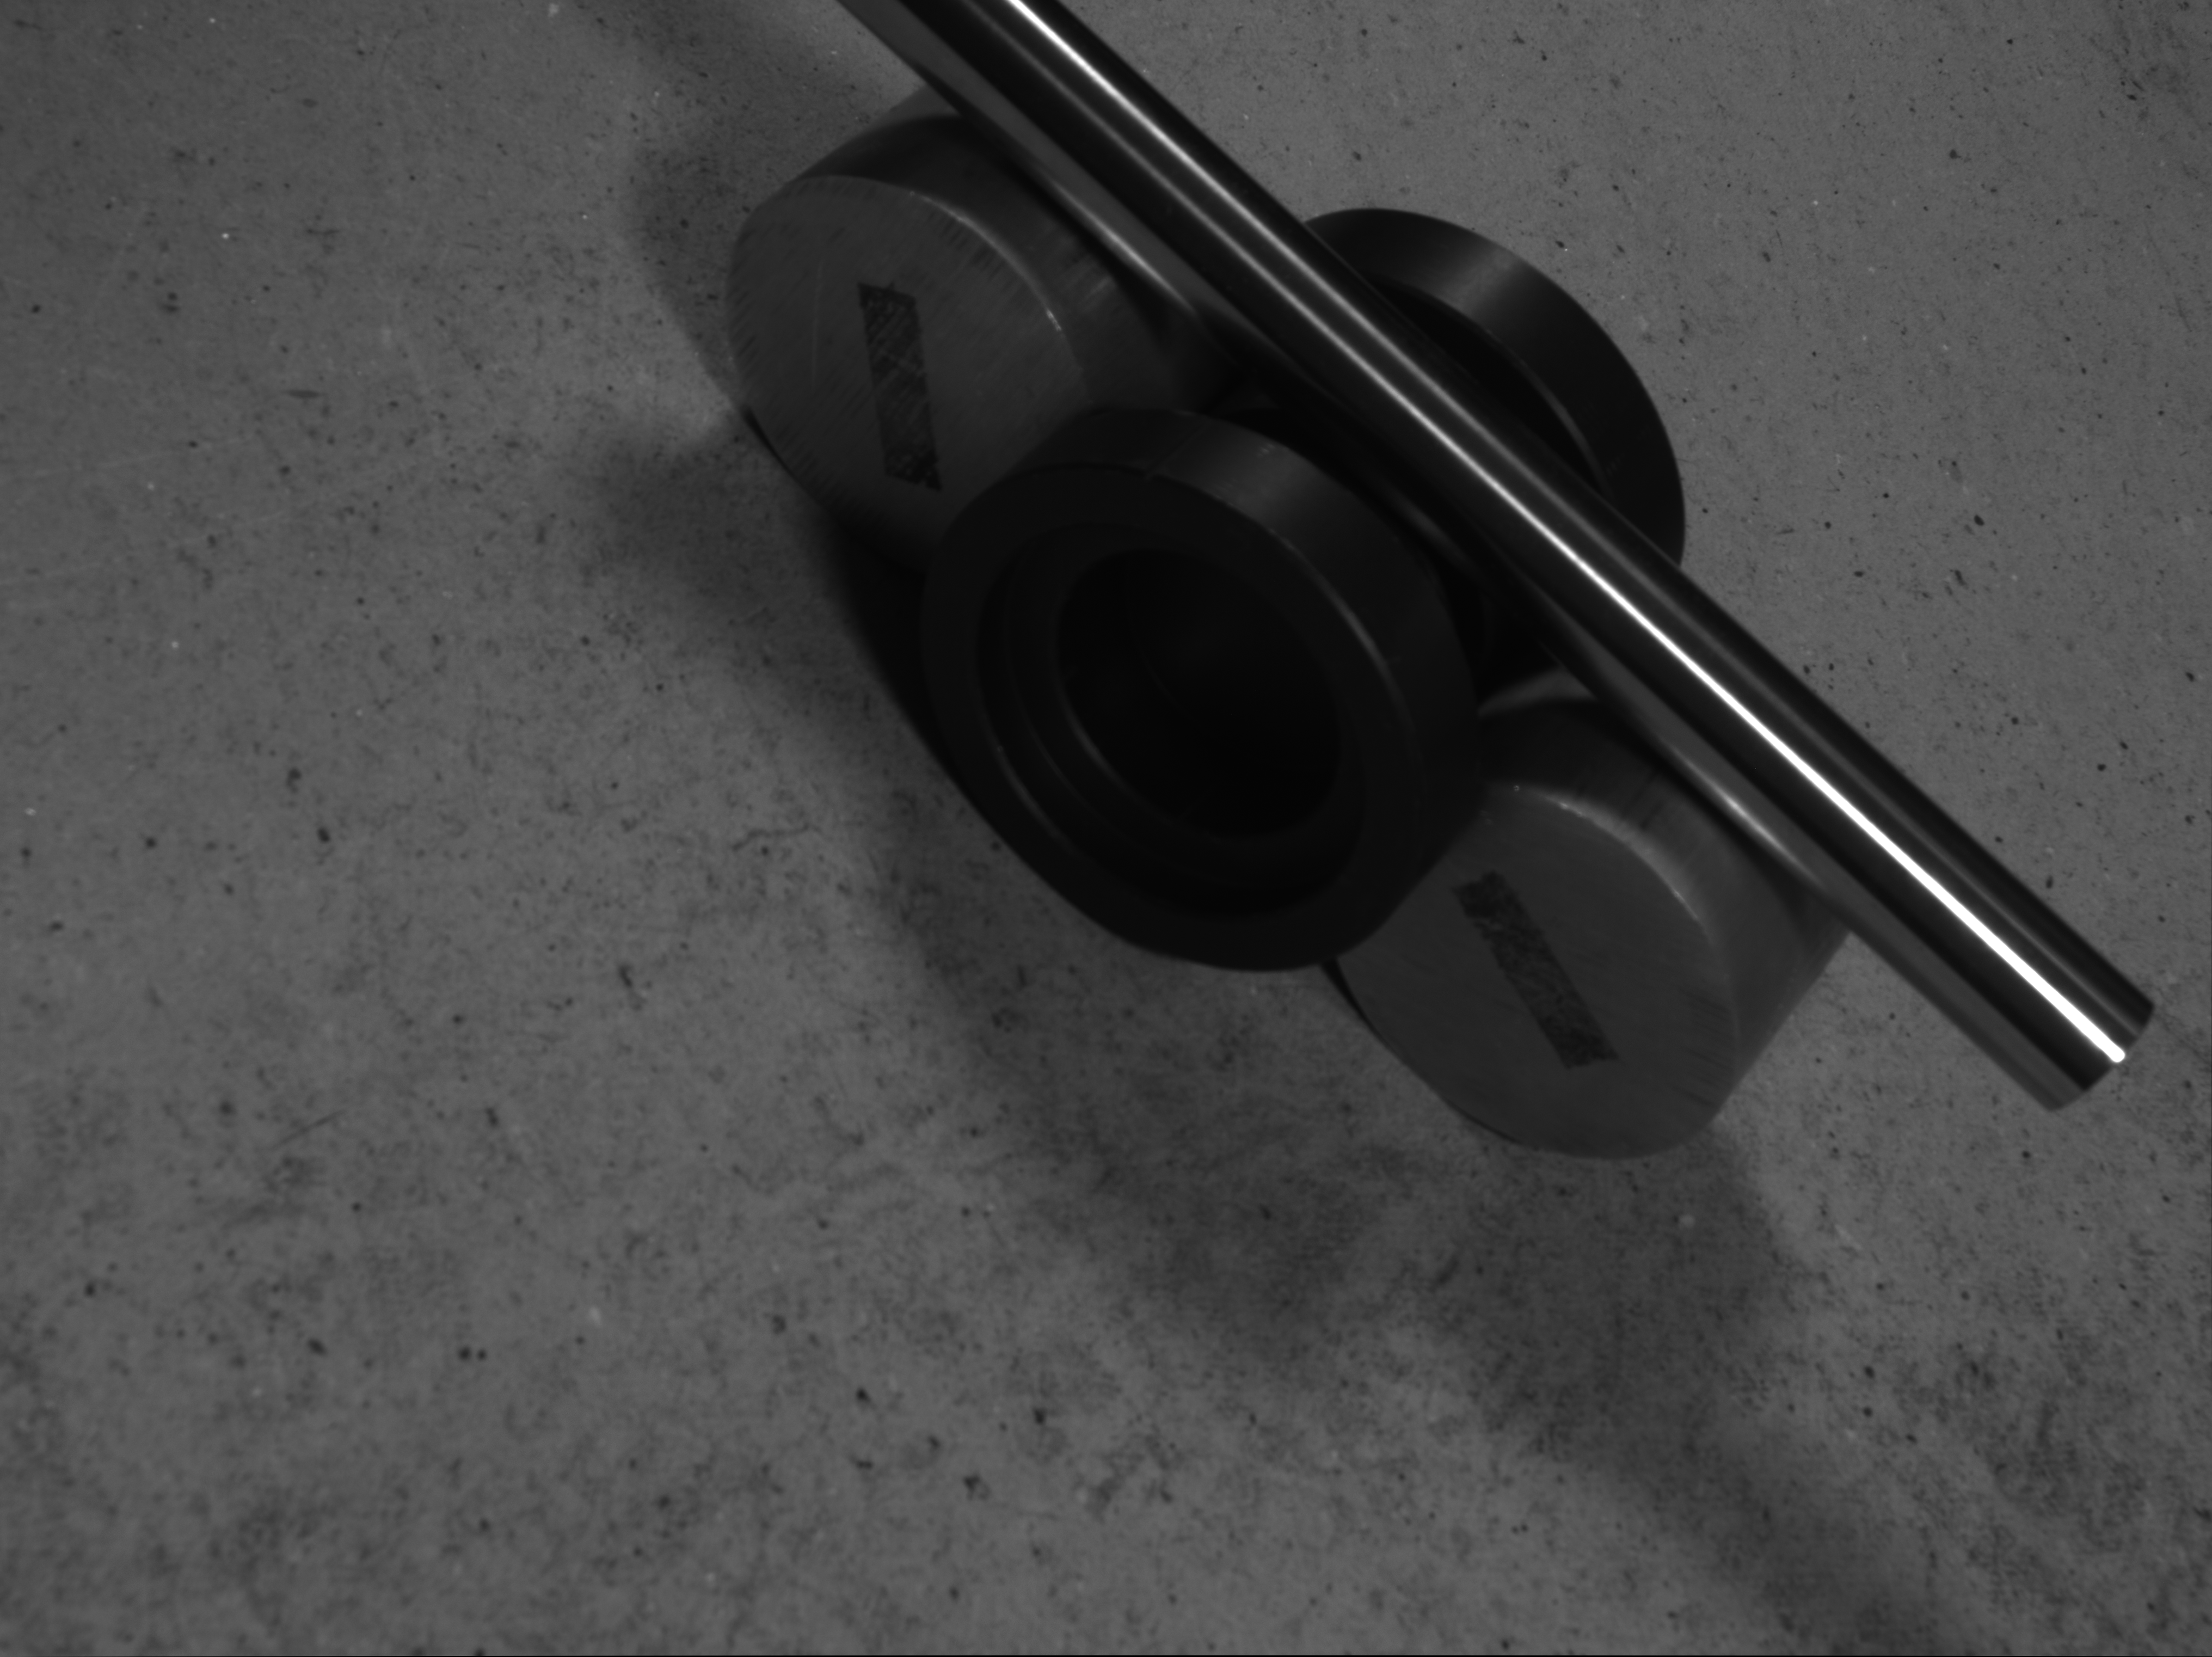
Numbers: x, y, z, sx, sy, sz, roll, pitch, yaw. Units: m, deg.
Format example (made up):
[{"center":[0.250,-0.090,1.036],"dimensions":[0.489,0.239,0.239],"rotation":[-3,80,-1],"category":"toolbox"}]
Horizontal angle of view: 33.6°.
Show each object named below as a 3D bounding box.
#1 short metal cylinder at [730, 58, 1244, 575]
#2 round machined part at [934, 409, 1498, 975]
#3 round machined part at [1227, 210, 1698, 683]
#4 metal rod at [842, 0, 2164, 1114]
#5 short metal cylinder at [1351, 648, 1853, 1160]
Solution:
[{"center":[-0.019,-0.090,0.649],"dimensions":[0.080,0.080,0.050],"rotation":[43,51,2],"category":"short metal cylinder"},{"center":[0.023,-0.027,0.620],"dimensions":[0.098,0.098,0.042],"rotation":[43,47,2],"category":"round machined part"},{"center":[0.053,-0.058,0.657],"dimensions":[0.098,0.098,0.042],"rotation":[43,56,2],"category":"round machined part"},{"center":[0.055,-0.064,0.606],"dimensions":[0.300,0.025,0.025],"rotation":[43,51,1],"category":"metal rod"},{"center":[0.087,0.011,0.644],"dimensions":[0.080,0.080,0.050],"rotation":[43,51,2],"category":"short metal cylinder"}]
